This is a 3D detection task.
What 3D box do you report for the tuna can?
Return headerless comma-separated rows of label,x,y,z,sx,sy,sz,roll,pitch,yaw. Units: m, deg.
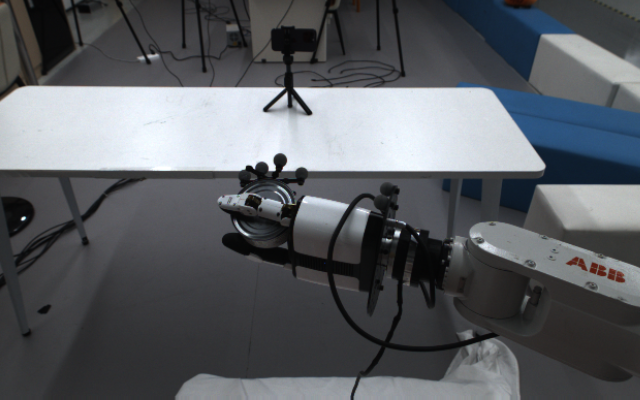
tuna can,-0.067,0.018,0.619,0.085,0.034,0.085,-6,61,10
